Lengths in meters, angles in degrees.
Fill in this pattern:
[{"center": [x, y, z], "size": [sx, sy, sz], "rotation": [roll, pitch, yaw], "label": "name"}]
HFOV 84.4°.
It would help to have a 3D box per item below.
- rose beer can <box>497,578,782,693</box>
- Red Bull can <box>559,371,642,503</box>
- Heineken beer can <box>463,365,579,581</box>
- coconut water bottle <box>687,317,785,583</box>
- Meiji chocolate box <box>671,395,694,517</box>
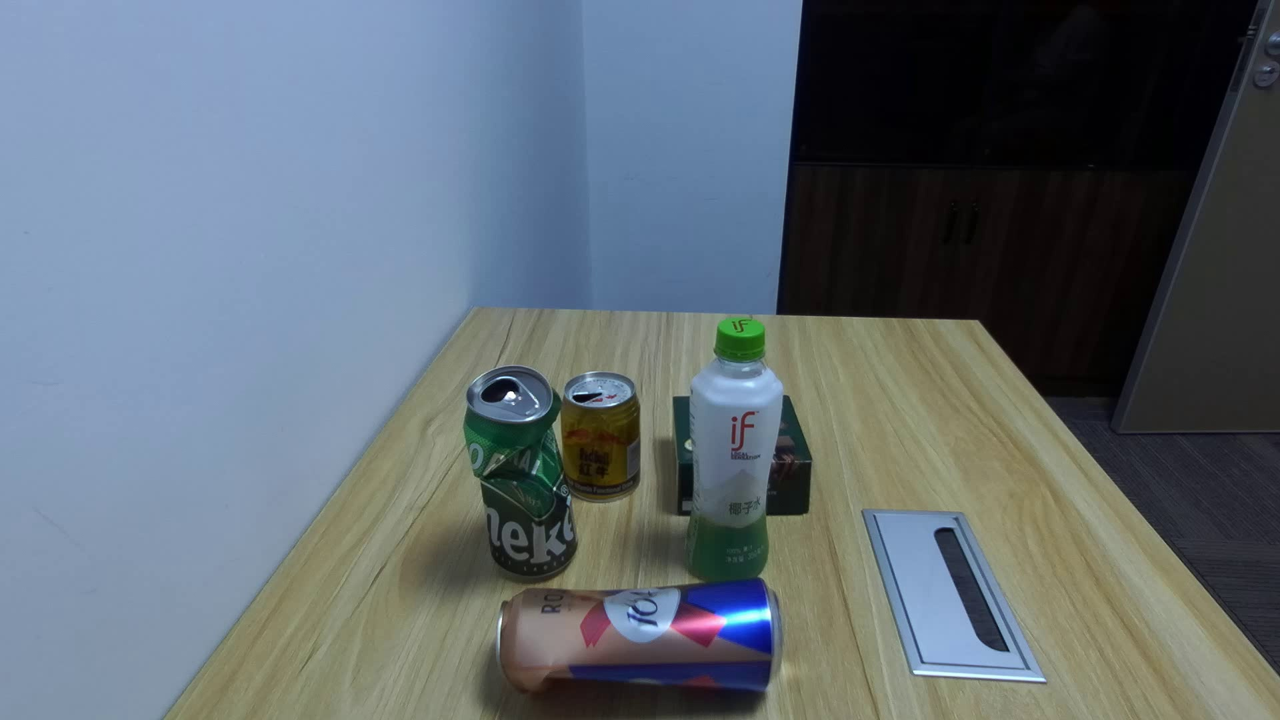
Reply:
[{"center": [0.000, 0.165, 0.426], "size": [0.168, 0.069, 0.070], "rotation": [-1, 46, 1], "label": "rose beer can"}, {"center": [-0.032, 0.063, 0.596], "size": [0.069, 0.092, 0.069], "rotation": [1, 29, 0], "label": "Red Bull can"}, {"center": [-0.083, 0.081, 0.500], "size": [0.067, 0.159, 0.078], "rotation": [-13, 35, -17], "label": "Heineken beer can"}, {"center": [0.064, 0.064, 0.487], "size": [0.063, 0.189, 0.063], "rotation": [0, 26, 0], "label": "coconut water bottle"}, {"center": [0.084, 0.079, 0.609], "size": [0.109, 0.056, 0.110], "rotation": [-1, 27, 0], "label": "Meiji chocolate box"}]
